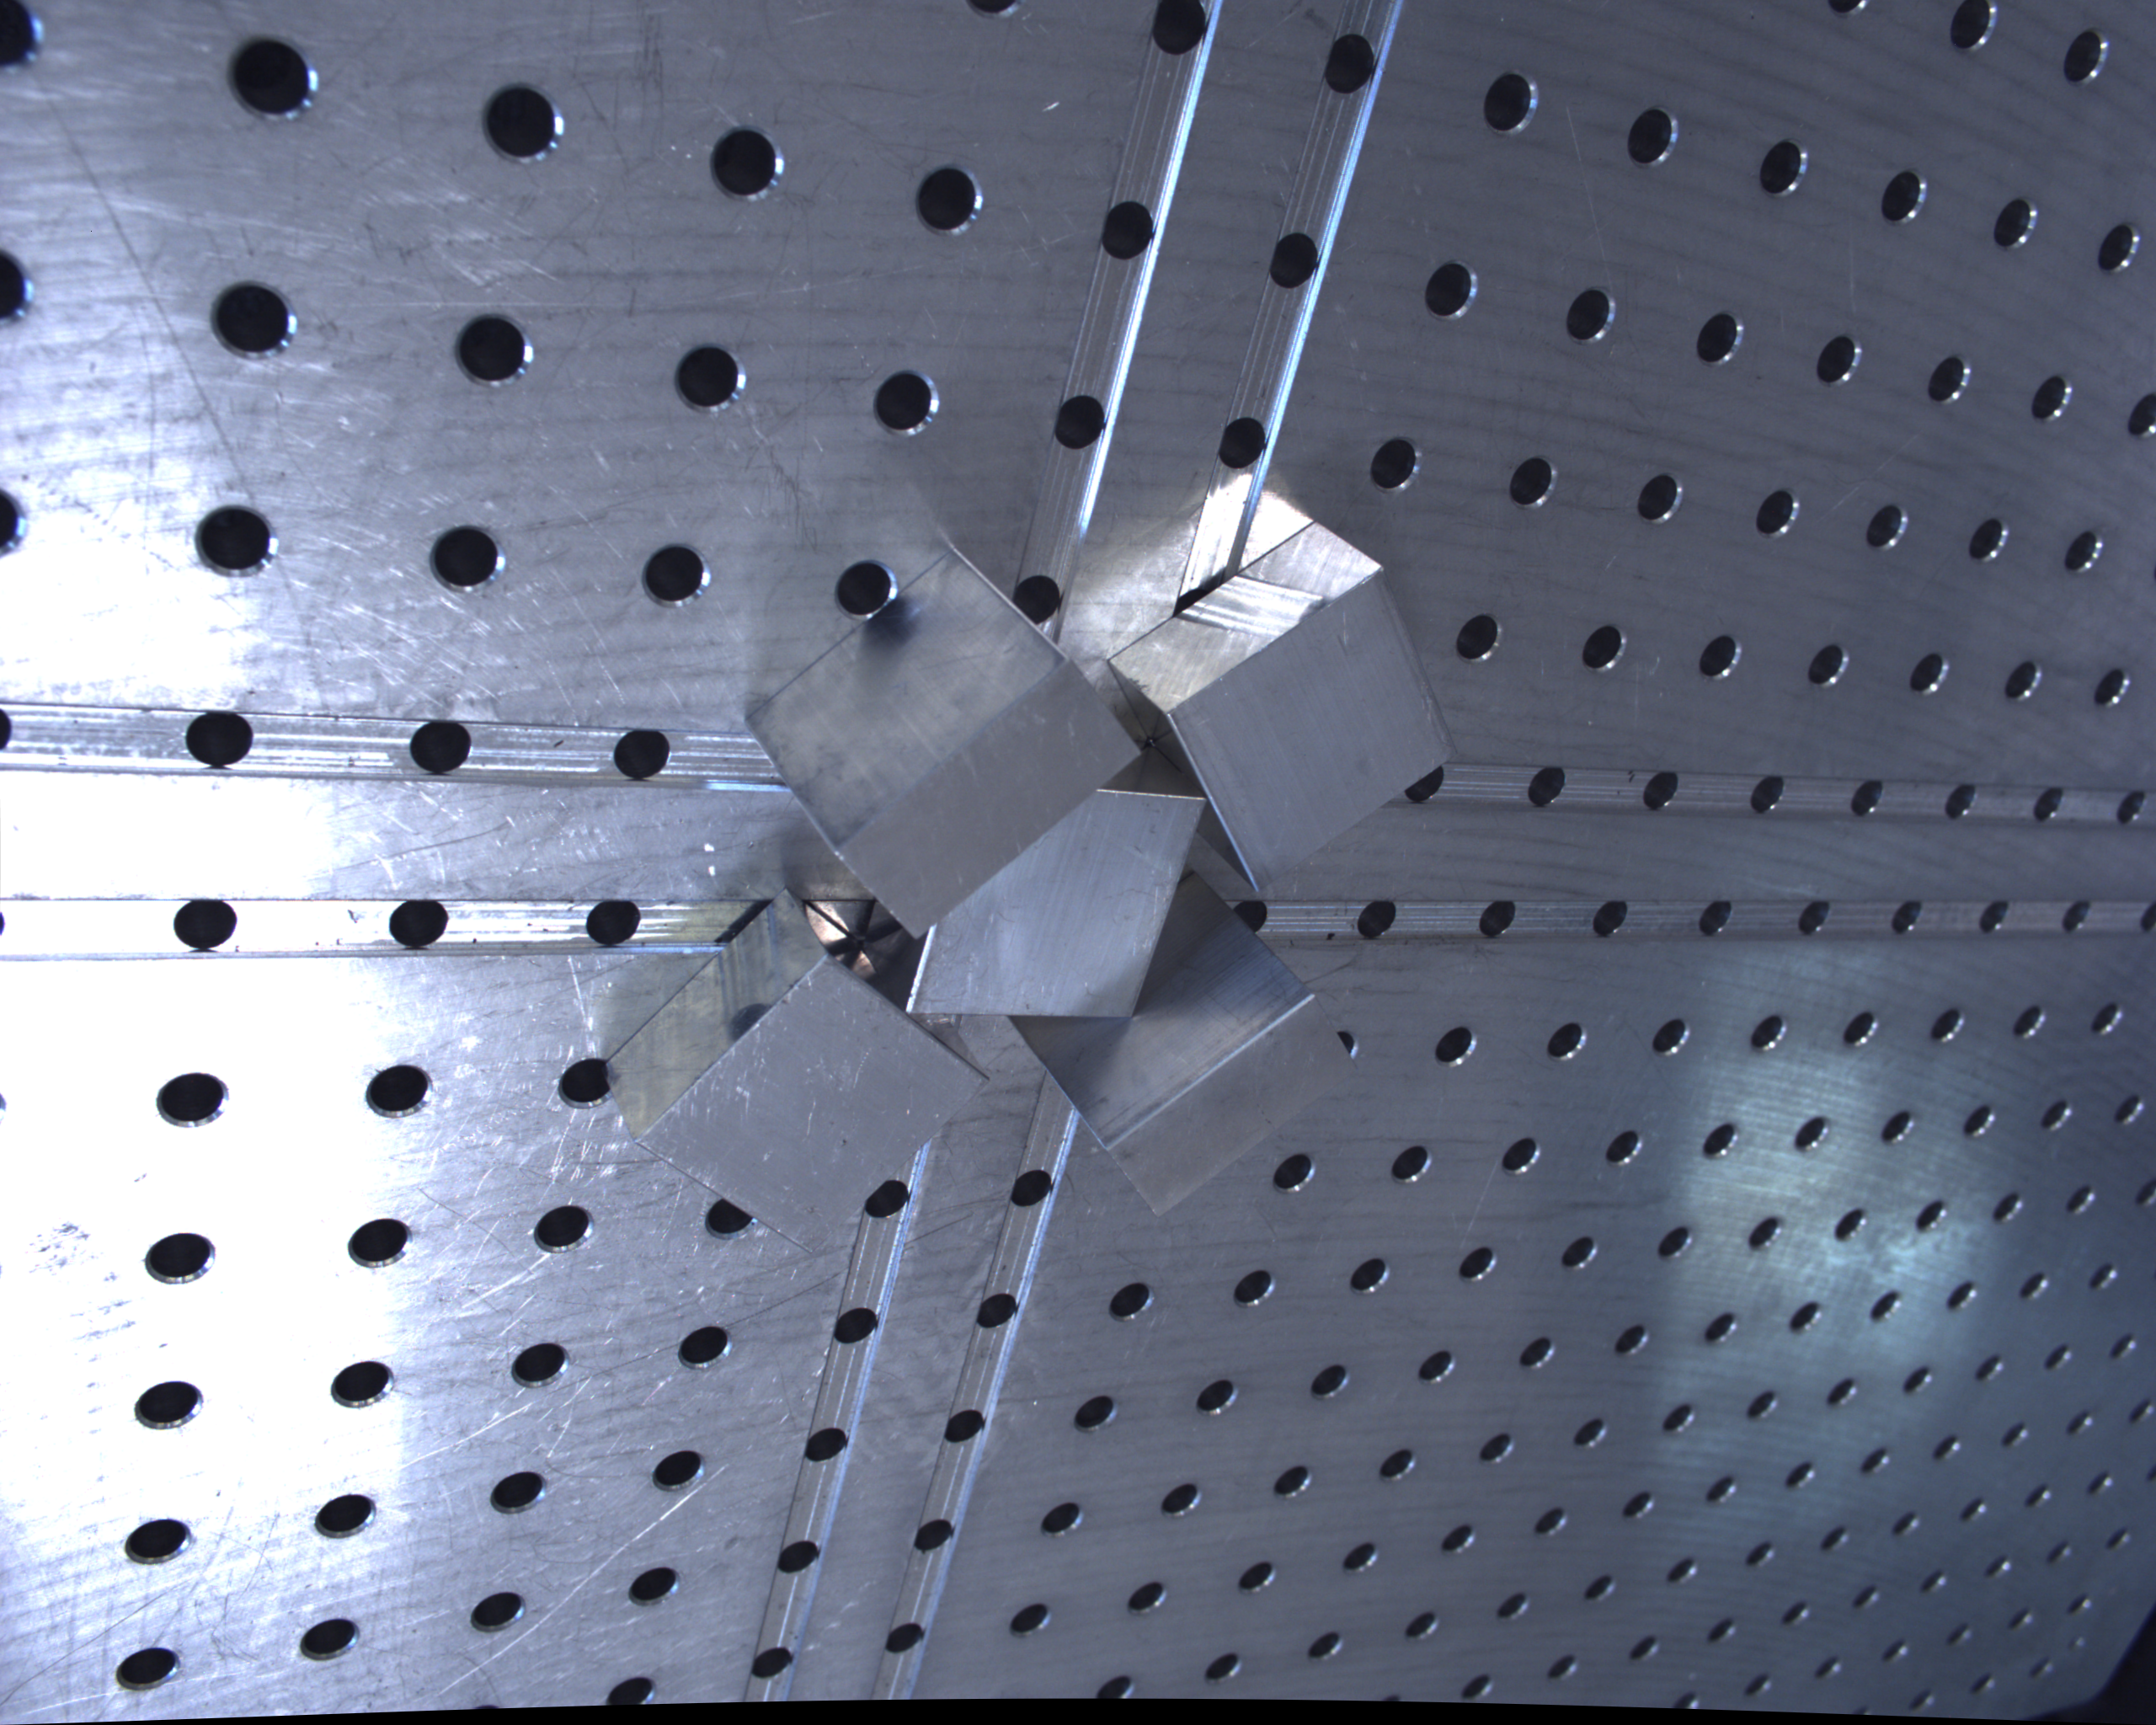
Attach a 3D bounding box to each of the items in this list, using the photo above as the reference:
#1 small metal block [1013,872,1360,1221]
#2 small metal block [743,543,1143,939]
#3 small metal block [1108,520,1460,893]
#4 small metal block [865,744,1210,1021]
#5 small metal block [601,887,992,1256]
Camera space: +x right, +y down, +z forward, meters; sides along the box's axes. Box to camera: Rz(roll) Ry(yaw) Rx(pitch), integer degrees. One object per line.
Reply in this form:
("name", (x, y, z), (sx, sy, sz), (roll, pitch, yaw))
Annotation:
("small metal block", (0.021, 0.037, 0.428), (0.050, 0.050, 0.025), (-36, 129, -4))
("small metal block", (-0.025, -0.022, 0.367), (0.050, 0.050, 0.025), (-39, 130, -1))
("small metal block", (0.042, -0.031, 0.414), (0.050, 0.025, 0.050), (-34, 129, -5))
("small metal block", (-0.008, 0.003, 0.407), (0.050, 0.025, 0.050), (4, 115, -29))
("small metal block", (-0.054, 0.041, 0.406), (0.050, 0.025, 0.050), (-44, 130, 2))
